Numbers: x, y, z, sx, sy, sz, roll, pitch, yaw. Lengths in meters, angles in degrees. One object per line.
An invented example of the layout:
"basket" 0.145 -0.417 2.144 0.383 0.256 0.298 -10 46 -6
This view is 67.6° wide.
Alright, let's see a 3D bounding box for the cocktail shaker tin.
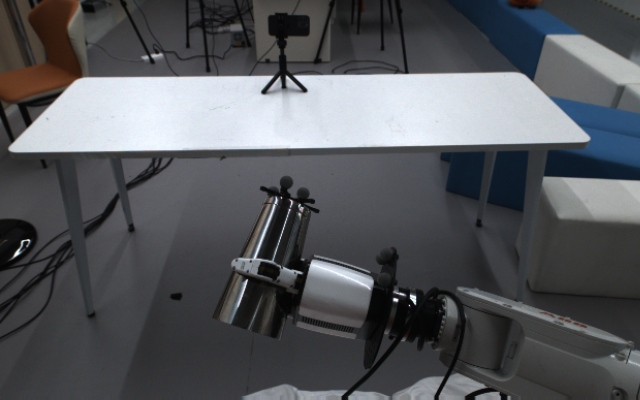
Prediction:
"cocktail shaker tin" -0.070 0.085 0.633 0.093 0.093 0.170 15 73 17
